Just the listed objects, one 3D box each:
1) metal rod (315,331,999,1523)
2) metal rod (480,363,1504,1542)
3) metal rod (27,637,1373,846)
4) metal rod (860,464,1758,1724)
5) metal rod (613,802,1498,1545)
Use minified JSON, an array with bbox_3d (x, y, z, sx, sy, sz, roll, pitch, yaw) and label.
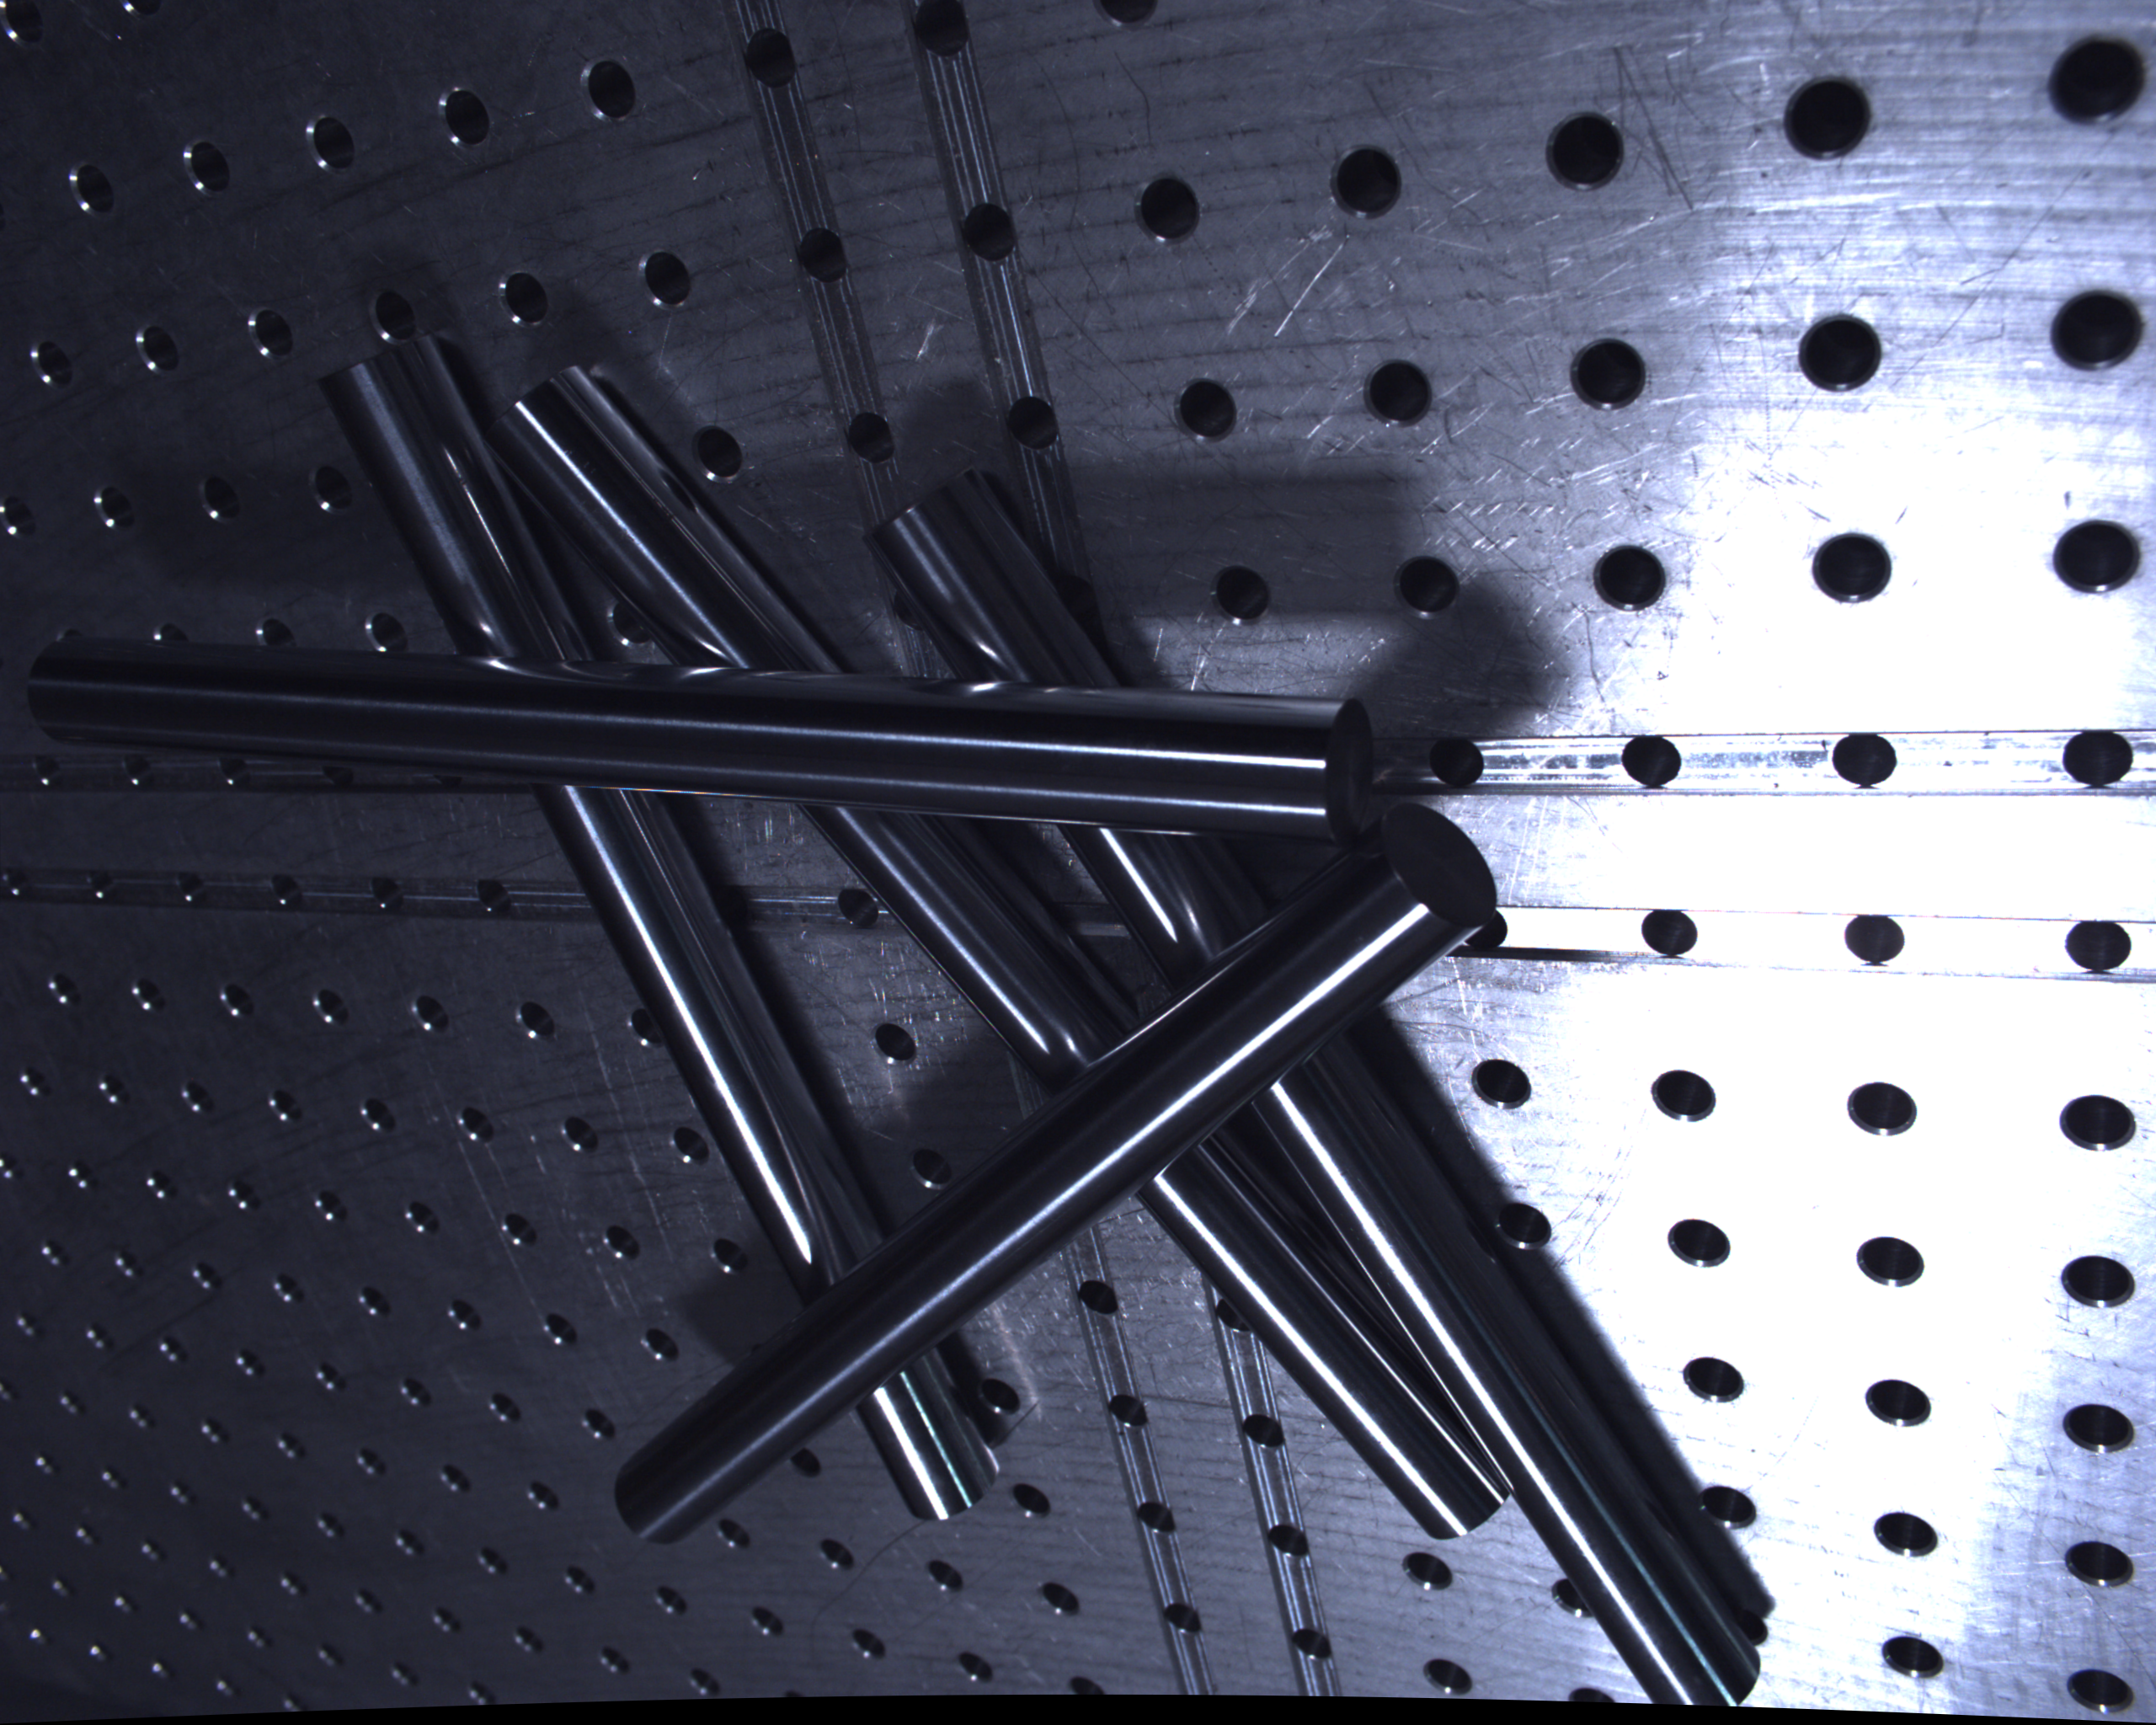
[{"bbox_3d":[-0.087,0.027,0.471,0.025,0.025,0.299,-10,114,32],"label":"metal rod"},{"bbox_3d":[-0.012,0.023,0.430,0.025,0.025,0.300,-34,100,38],"label":"metal rod"},{"bbox_3d":[-0.091,-0.027,0.408,0.301,0.025,0.025,5,121,25],"label":"metal rod"},{"bbox_3d":[0.052,0.054,0.416,0.025,0.025,0.299,-25,105,36],"label":"metal rod"},{"bbox_3d":[-0.023,0.081,0.439,0.025,0.025,0.299,44,129,-3],"label":"metal rod"}]
